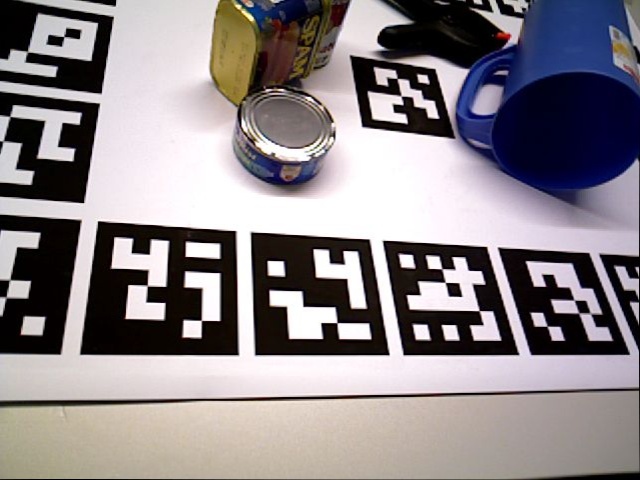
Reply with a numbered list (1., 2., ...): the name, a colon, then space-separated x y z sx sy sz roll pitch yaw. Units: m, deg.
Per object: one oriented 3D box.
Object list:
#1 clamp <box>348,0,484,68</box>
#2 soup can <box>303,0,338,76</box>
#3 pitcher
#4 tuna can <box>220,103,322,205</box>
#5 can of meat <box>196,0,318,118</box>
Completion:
1. clamp: 0.112 -0.237 0.625 0.163 0.037 0.120 7 55 -17
2. soup can: -0.021 -0.218 0.523 0.067 0.104 0.067 6 61 -12
3. pitcher: 0.246 -0.165 0.550 0.189 0.136 0.237 9 48 14
4. tuna can: -0.044 -0.074 0.472 0.085 0.034 0.084 7 61 -14
5. can of meat: -0.058 -0.164 0.475 0.082 0.104 0.058 -33 76 -27
